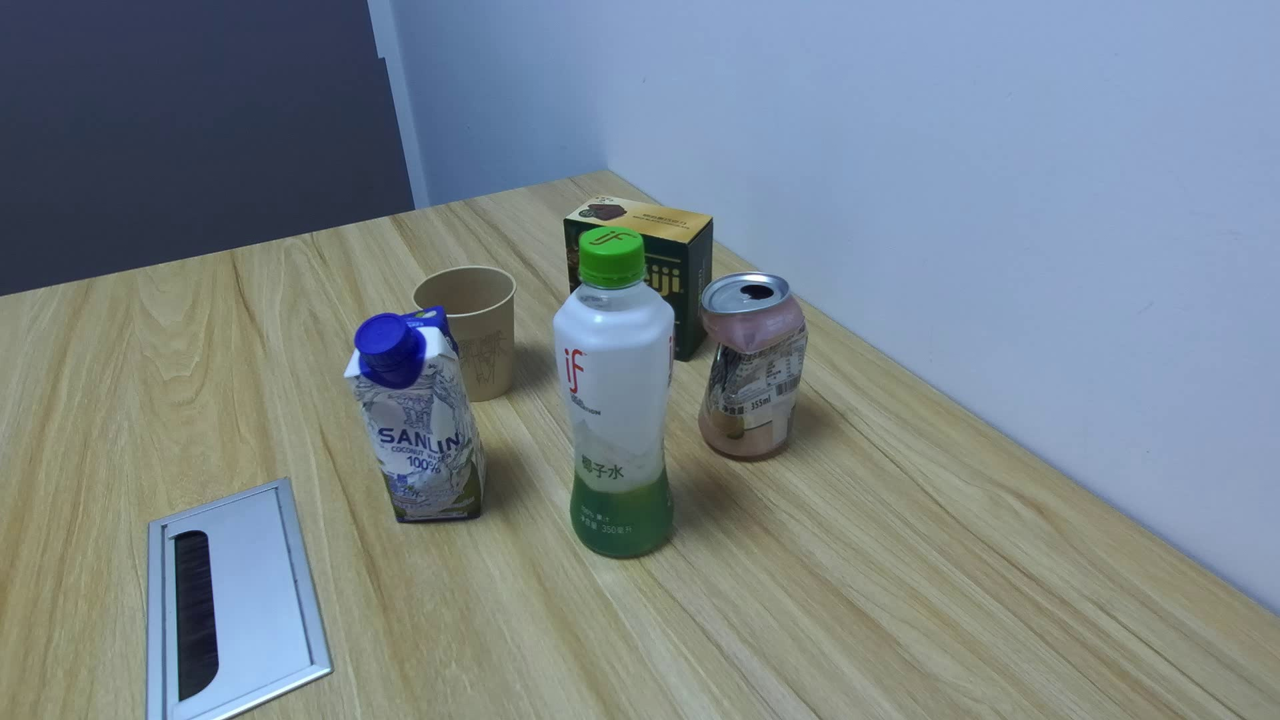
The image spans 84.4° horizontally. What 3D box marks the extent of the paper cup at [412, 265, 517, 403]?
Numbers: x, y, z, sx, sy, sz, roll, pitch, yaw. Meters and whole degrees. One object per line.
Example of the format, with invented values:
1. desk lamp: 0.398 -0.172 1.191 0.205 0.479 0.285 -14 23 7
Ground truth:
1. paper cup: -0.126 -0.017 0.540 0.075 0.082 0.075 -2 34 1

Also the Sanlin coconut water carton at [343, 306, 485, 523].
1. Sanlin coconut water carton: -0.131 0.029 0.418 0.061 0.144 0.069 -3 36 0

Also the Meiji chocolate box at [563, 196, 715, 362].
1. Meiji chocolate box: 0.001 -0.067 0.576 0.109 0.109 0.056 15 39 23

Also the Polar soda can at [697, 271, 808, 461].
1. Polar soda can: 0.067 0.004 0.469 0.067 0.122 0.070 -33 45 -31

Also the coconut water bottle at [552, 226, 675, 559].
1. coconut water bottle: -0.011 0.022 0.383 0.063 0.189 0.063 -1 34 1
